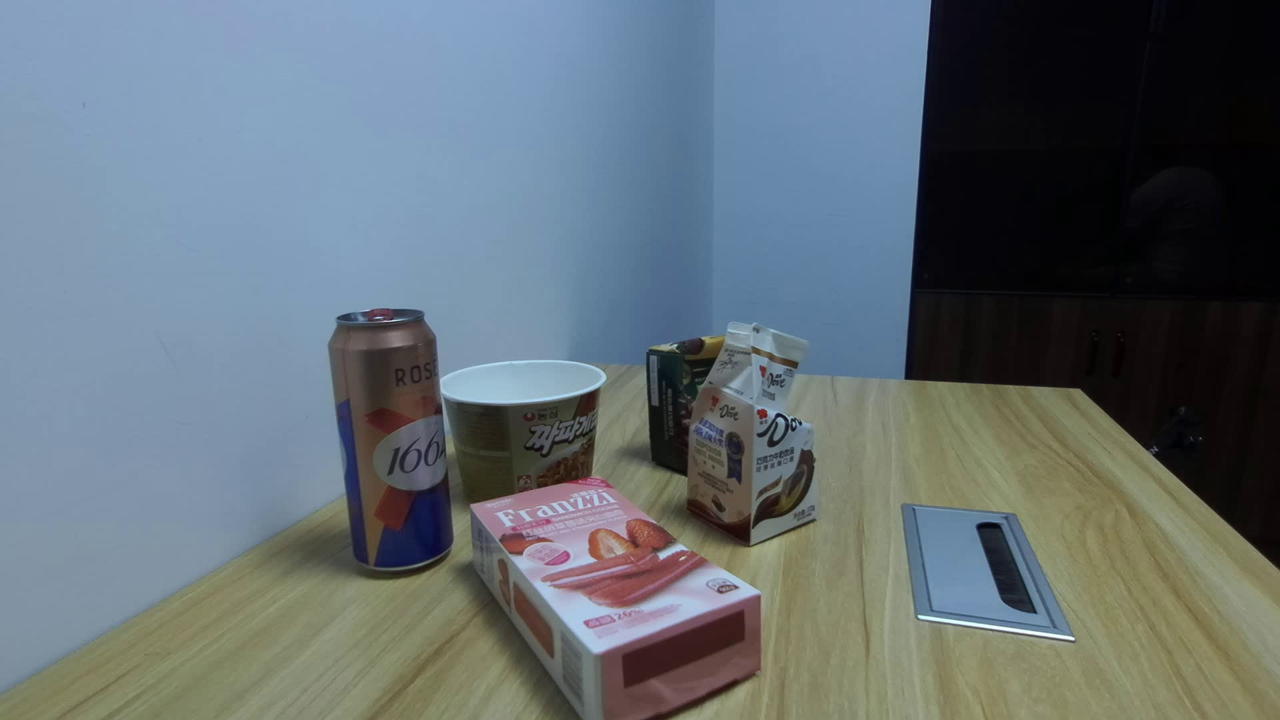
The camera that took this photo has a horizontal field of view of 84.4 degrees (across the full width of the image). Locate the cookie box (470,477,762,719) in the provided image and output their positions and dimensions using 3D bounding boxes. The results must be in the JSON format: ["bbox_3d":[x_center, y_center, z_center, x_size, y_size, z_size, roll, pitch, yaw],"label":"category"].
[{"bbox_3d":[-0.019,0.127,0.412,0.105,0.049,0.186,-8,15,-30],"label":"cookie box"}]

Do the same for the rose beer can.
[{"bbox_3d":[-0.165,0.055,0.472,0.068,0.169,0.068,0,12,0],"label":"rose beer can"}]

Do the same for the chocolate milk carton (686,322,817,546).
[{"bbox_3d":[0.084,0.045,0.516,0.076,0.155,0.073,-10,18,-35],"label":"chocolate milk carton"}]

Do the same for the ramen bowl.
[{"bbox_3d":[-0.098,0.060,0.608,0.140,0.095,0.140,-1,14,1],"label":"ramen bowl"}]

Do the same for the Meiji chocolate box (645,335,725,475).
[{"bbox_3d":[0.067,0.036,0.655,0.118,0.117,0.051,-10,8,-36],"label":"Meiji chocolate box"}]
